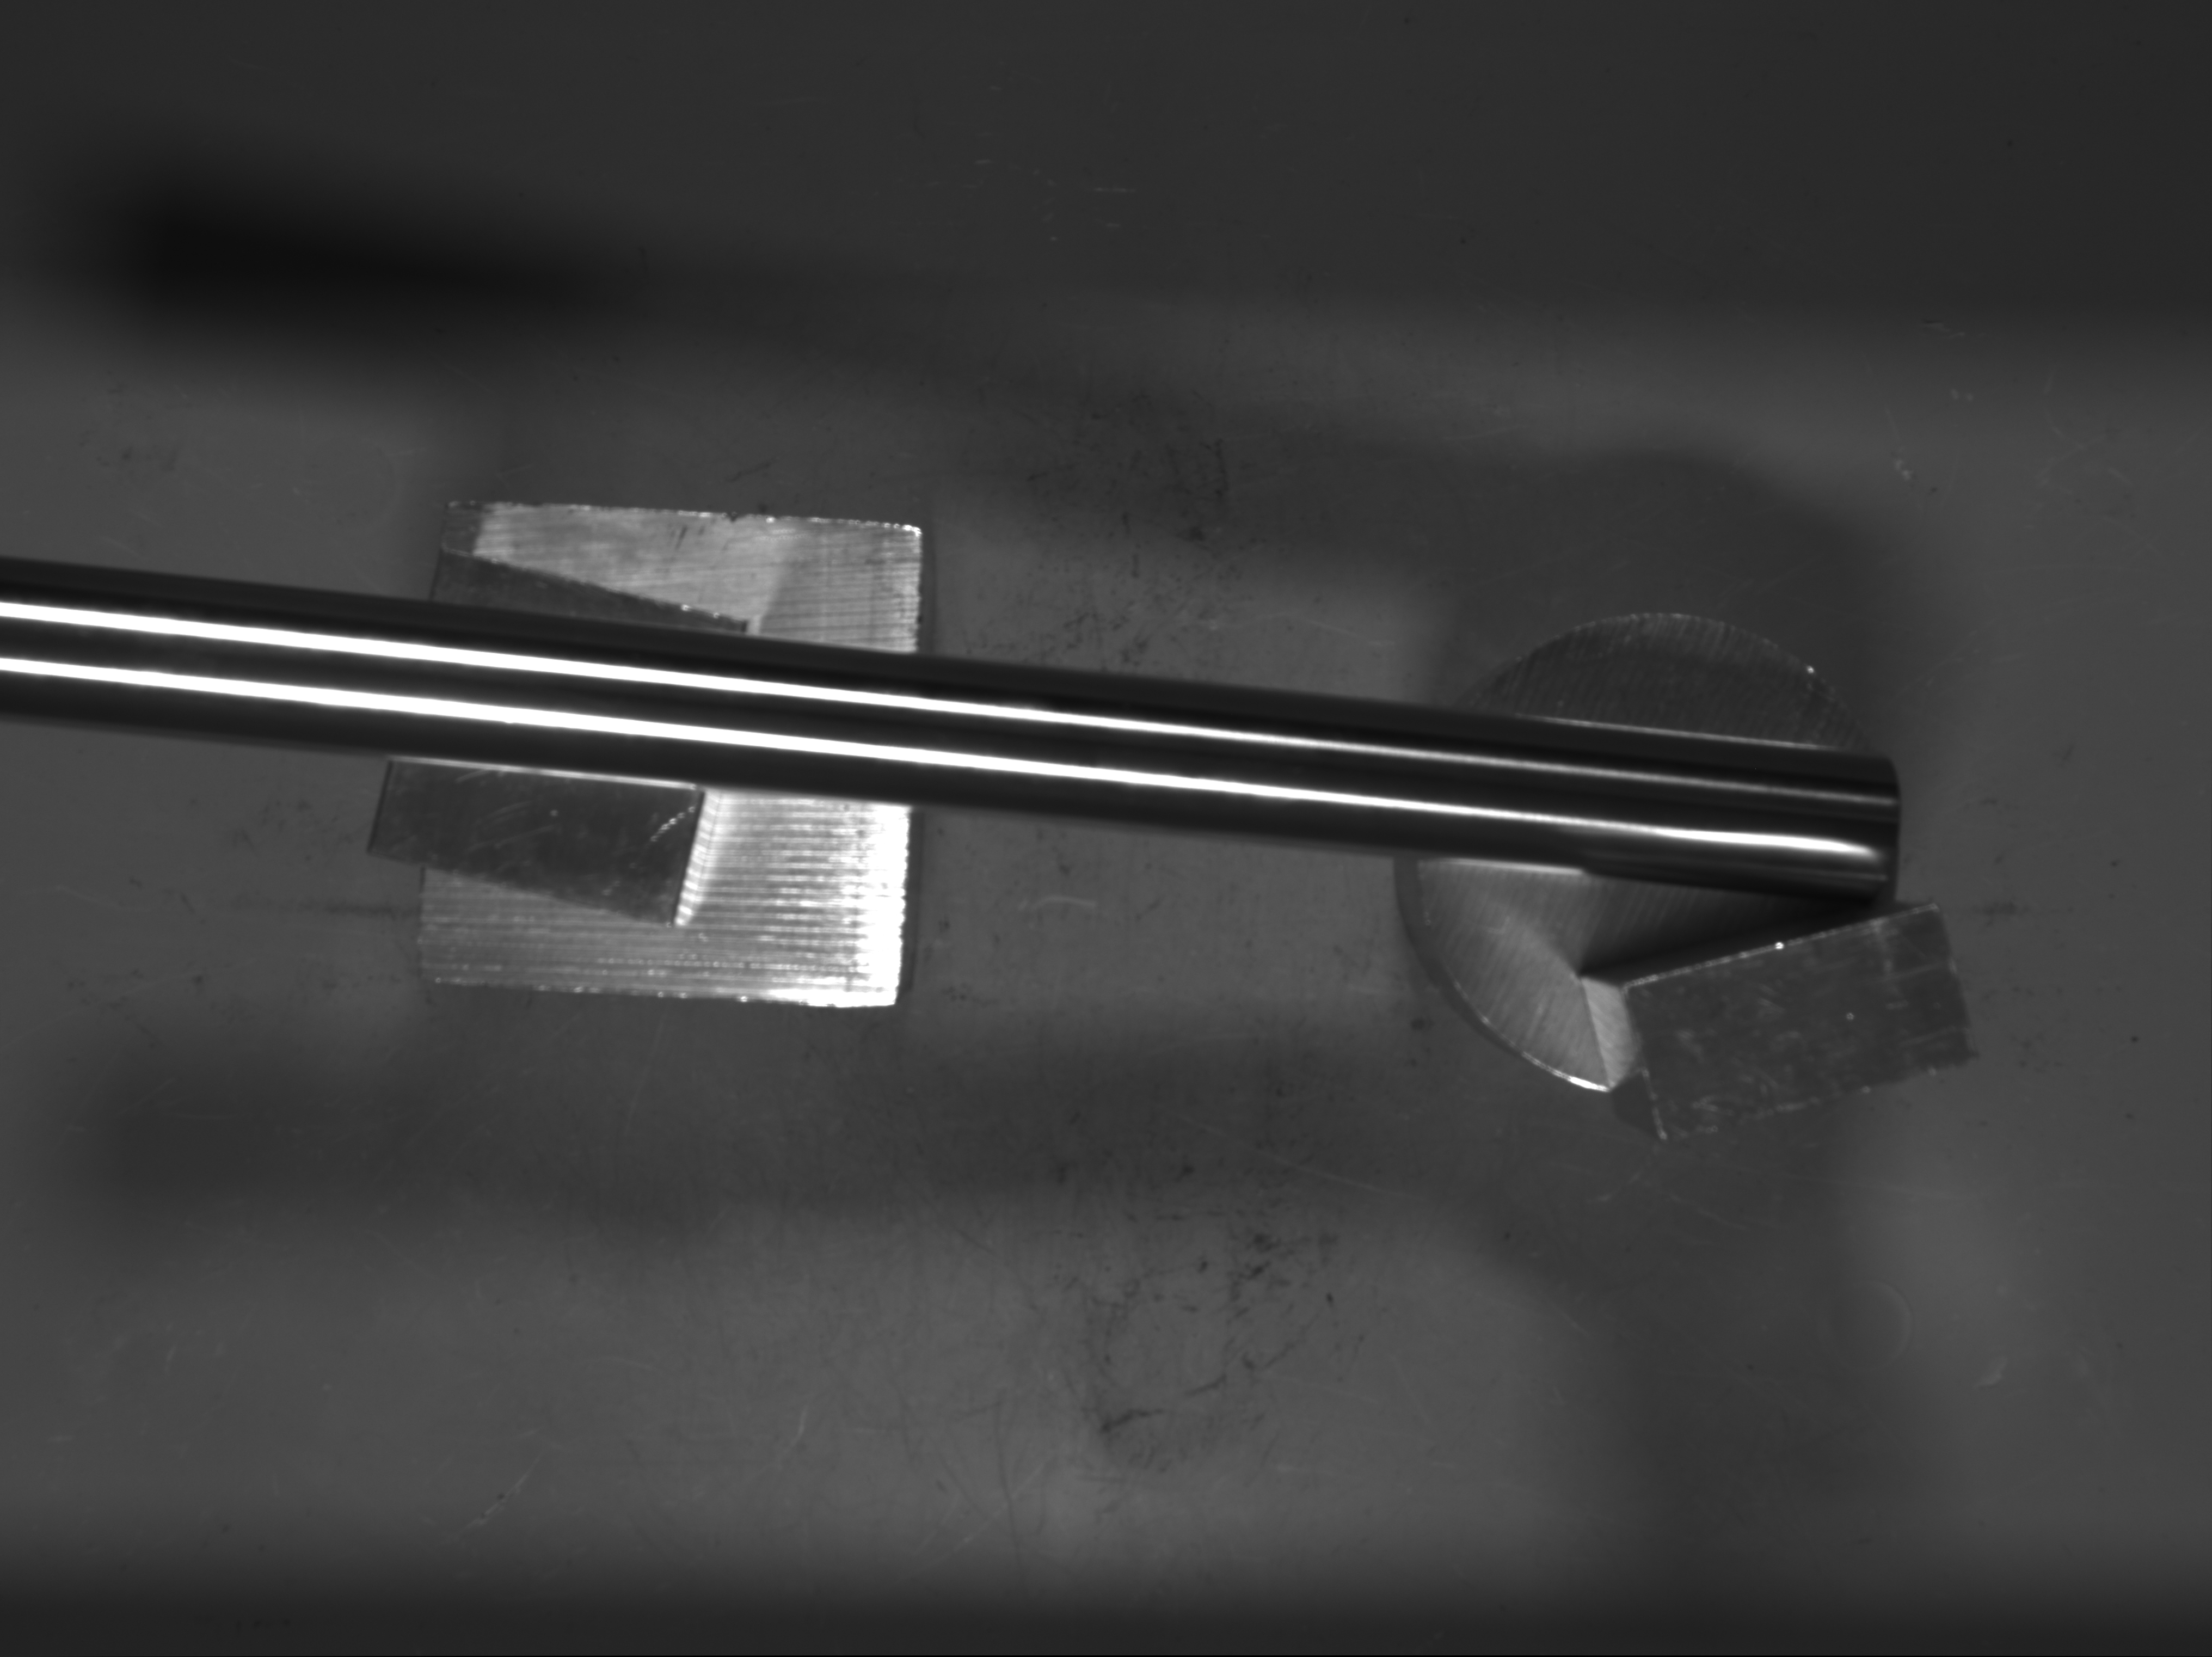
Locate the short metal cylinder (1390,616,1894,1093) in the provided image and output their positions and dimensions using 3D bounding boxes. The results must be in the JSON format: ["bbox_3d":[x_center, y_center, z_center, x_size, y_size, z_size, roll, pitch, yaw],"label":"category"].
[{"bbox_3d":[0.091,0.005,0.632,0.080,0.050,0.080,0,90,0],"label":"short metal cylinder"}]

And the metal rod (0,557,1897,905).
[{"bbox_3d":[-0.024,-0.014,0.573,0.300,0.025,0.025,6,90,-8],"label":"metal rod"}]

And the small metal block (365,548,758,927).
[{"bbox_3d":[-0.087,-0.014,0.593,0.050,0.025,0.050,13,89,0],"label":"small metal block"}]

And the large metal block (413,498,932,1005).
[{"bbox_3d":[-0.073,-0.013,0.629,0.080,0.050,0.080,3,90,0],"label":"large metal block"}]

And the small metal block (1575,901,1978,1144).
[{"bbox_3d":[0.105,0.030,0.581,0.050,0.050,0.025,-15,90,0],"label":"small metal block"}]
